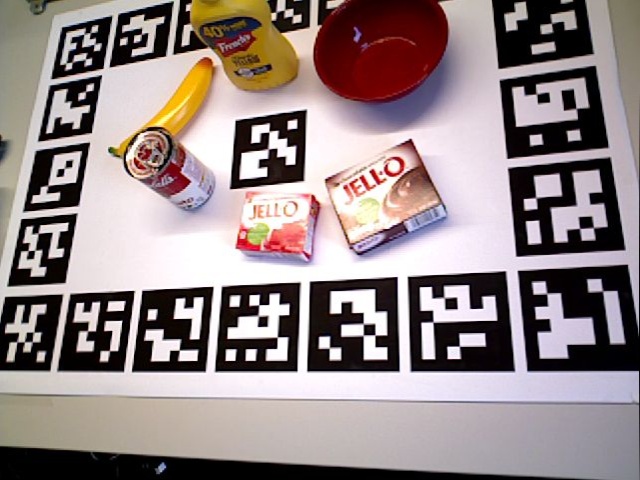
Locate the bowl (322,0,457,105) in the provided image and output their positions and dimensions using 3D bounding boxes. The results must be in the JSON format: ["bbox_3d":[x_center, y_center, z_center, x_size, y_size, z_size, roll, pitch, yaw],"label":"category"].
[{"bbox_3d":[0.087,-0.221,0.652,0.163,0.055,0.160,-7,69,18],"label":"bowl"}]

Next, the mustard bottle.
[{"bbox_3d":[-0.098,-0.253,0.635,0.097,0.192,0.058,-4,66,16],"label":"mustard bottle"}]

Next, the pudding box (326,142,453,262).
[{"bbox_3d":[0.076,-0.041,0.599,0.114,0.038,0.089,-27,71,8],"label":"pudding box"}]

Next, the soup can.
[{"bbox_3d":[-0.191,-0.085,0.661,0.068,0.102,0.067,-6,67,13],"label":"soup can"}]

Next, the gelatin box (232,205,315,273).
[{"bbox_3d":[-0.054,-0.002,0.636,0.090,0.030,0.073,3,76,20],"label":"gelatin box"}]

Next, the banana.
[{"bbox_3d":[-0.216,-0.173,0.745,0.197,0.039,0.074,-48,54,-2],"label":"banana"}]
